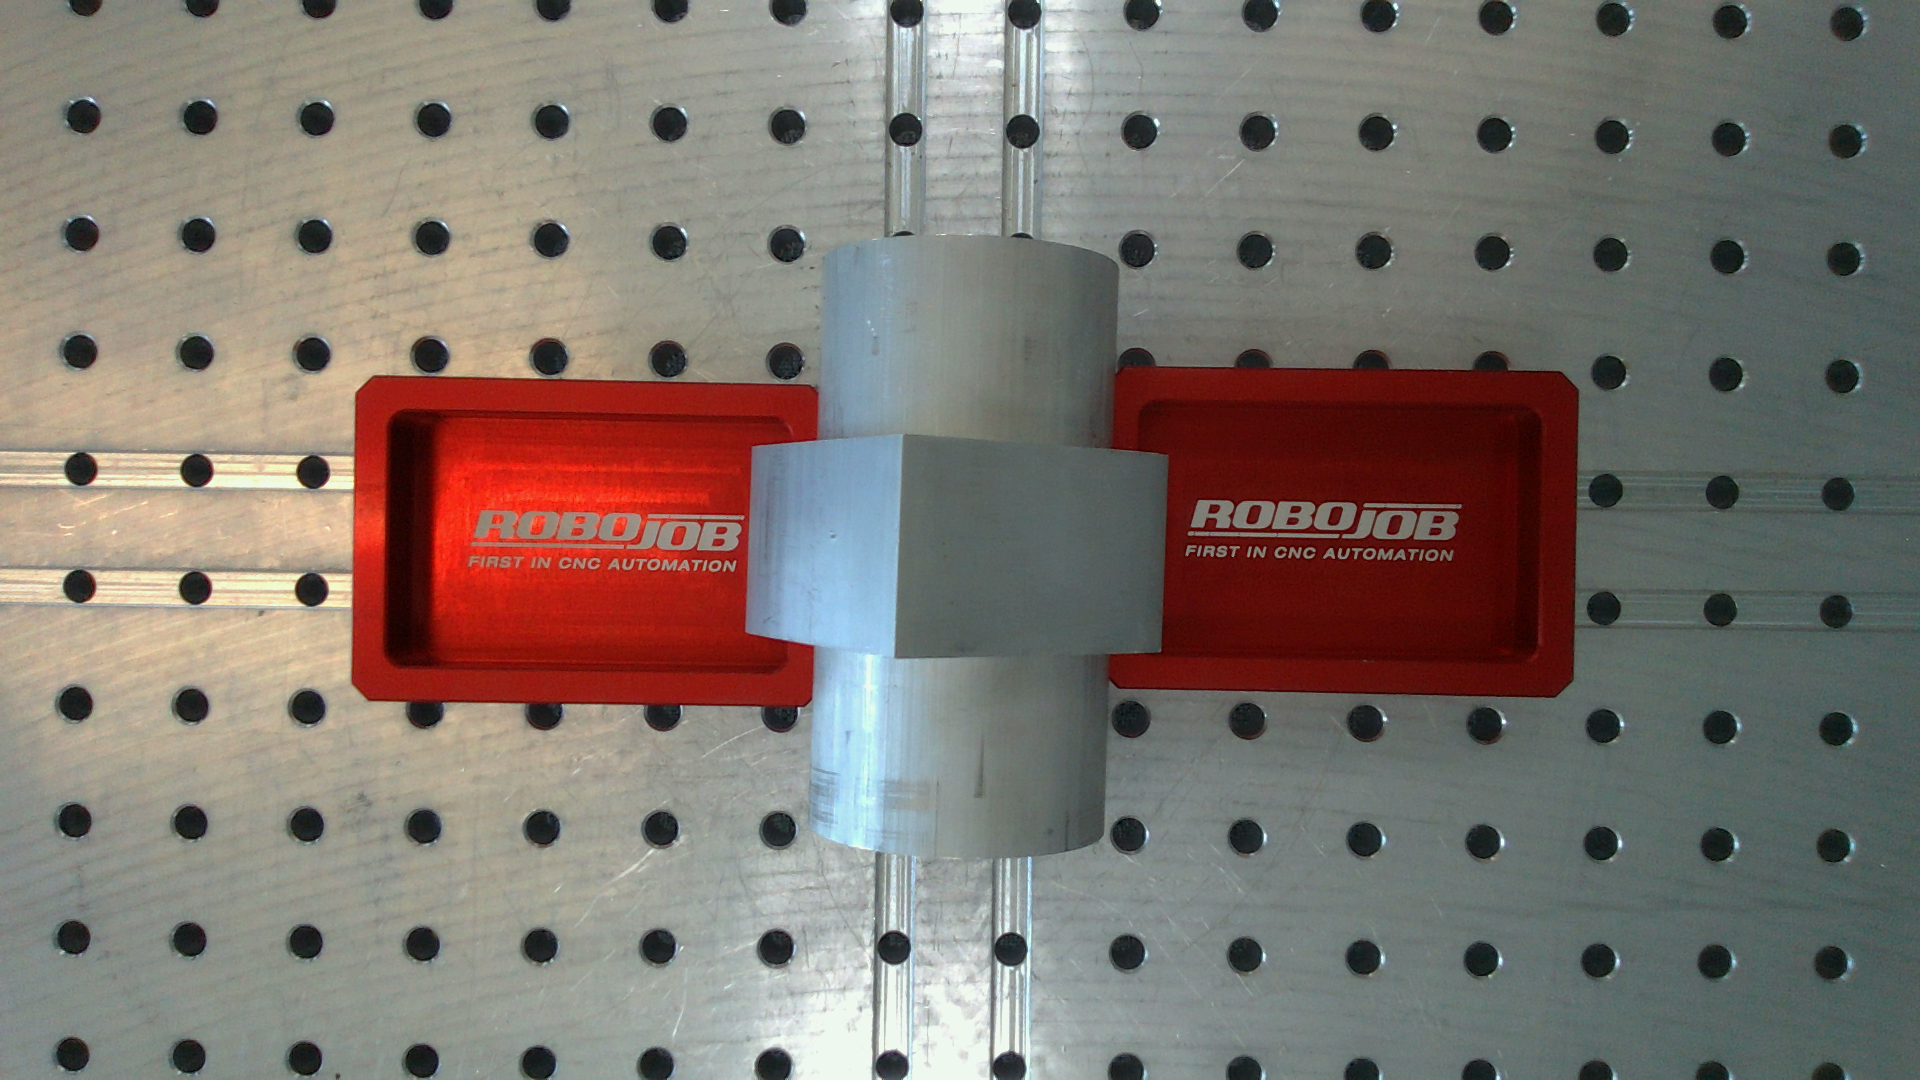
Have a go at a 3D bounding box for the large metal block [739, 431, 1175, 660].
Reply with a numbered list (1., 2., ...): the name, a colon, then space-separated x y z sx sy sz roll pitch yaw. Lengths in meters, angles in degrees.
1. large metal block: -0.002 0.002 0.356 0.080 0.080 0.050 2 90 -34

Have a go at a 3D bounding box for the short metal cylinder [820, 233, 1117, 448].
1. short metal cylinder: 0.002 -0.049 0.369 0.080 0.080 0.050 1 90 0

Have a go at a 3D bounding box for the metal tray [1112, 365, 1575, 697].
1. metal tray: 0.105 -0.003 0.395 0.130 0.030 0.090 1 90 0

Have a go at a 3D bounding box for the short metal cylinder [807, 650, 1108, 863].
1. short metal cylinder: 0.000 0.052 0.370 0.080 0.080 0.050 2 90 0

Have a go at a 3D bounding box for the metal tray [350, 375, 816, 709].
1. metal tray: -0.103 0.001 0.394 0.130 0.030 0.090 1 90 0
